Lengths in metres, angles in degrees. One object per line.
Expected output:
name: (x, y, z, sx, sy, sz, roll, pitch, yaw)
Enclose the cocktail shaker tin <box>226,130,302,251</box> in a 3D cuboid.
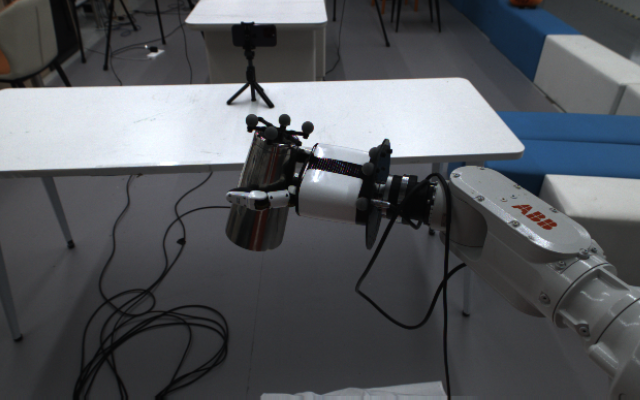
cocktail shaker tin: (-0.080, -0.020, 0.720, 0.093, 0.170, 0.093, 12, 29, -7)
